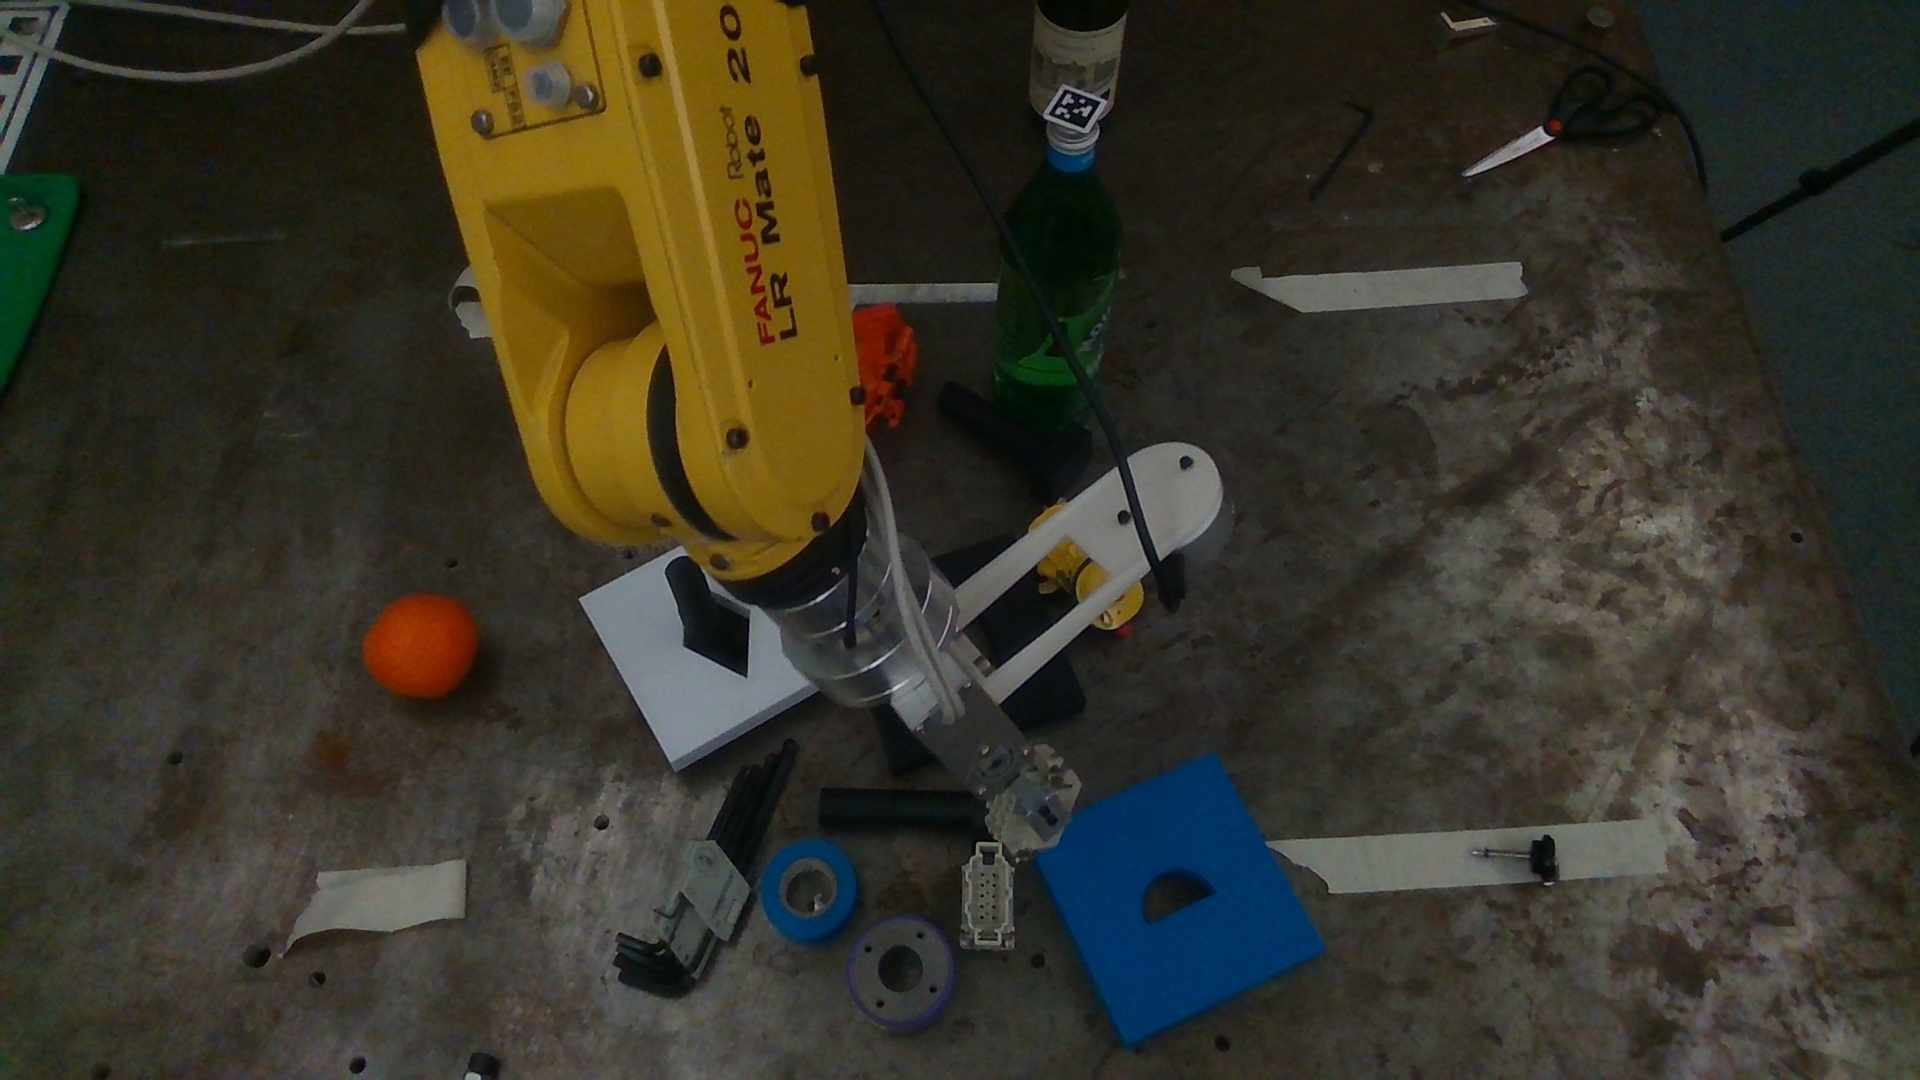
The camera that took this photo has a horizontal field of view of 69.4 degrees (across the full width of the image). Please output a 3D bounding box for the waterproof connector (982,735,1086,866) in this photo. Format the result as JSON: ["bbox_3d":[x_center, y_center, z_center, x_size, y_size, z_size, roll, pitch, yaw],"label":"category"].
[{"bbox_3d":[0.038,0.142,0.753,0.038,0.069,0.037,-1,30,-41],"label":"waterproof connector"}]
